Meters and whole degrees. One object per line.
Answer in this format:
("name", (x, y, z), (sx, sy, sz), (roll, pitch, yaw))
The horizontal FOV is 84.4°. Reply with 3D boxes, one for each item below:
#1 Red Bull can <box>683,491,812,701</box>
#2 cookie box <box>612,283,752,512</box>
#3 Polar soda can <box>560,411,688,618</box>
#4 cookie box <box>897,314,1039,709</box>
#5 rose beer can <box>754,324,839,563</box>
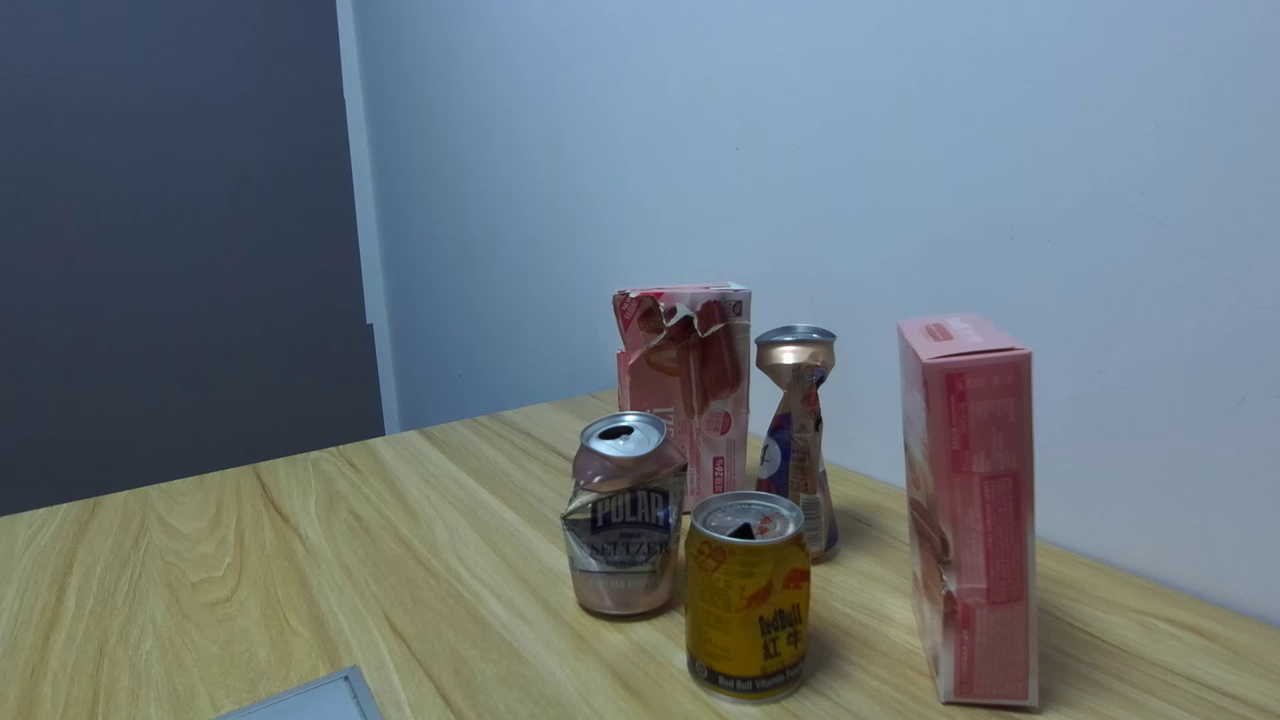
("Red Bull can", (0.057, 0.125, 0.380), (0.069, 0.092, 0.069), (-2, 14, 1))
("cookie box", (0.035, 0.033, 0.569), (0.105, 0.186, 0.059), (-5, 12, -6))
("Polar soda can", (-0.011, 0.100, 0.445), (0.071, 0.122, 0.066), (-15, 23, -40))
("cookie box", (0.172, 0.078, 0.373), (0.049, 0.187, 0.105), (-5, 12, 15))
("rose beer can", (0.111, 0.059, 0.502), (0.068, 0.162, 0.073), (-9, 14, -25))
